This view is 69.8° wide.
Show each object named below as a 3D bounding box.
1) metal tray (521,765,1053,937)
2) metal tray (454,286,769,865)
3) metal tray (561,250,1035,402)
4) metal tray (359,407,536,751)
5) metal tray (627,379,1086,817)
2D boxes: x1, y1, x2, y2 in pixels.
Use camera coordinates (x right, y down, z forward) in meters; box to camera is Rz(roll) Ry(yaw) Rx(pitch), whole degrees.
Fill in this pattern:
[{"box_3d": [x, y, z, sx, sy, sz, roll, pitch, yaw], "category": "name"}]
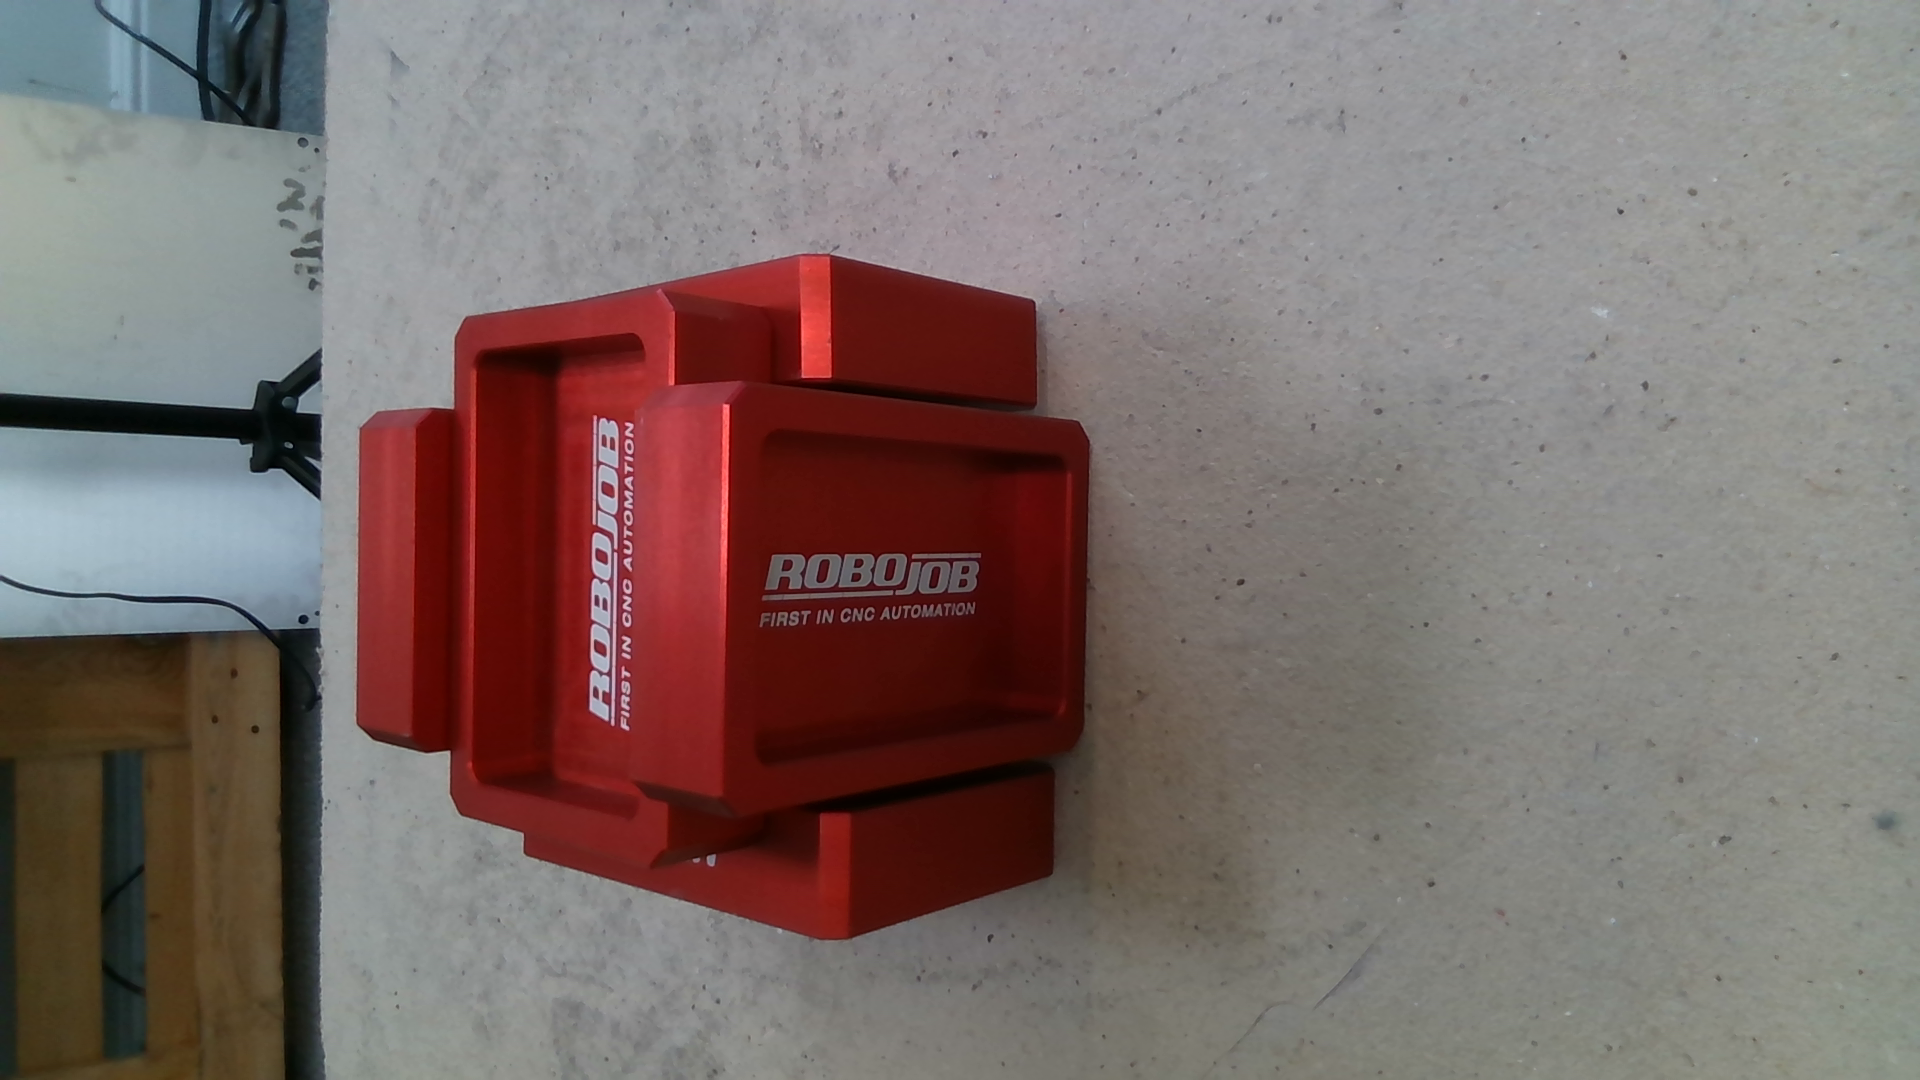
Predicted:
[{"box_3d": [-0.050, 0.076, 0.391, 0.130, 0.090, 0.030, 2, 91, 39], "category": "metal tray"}, {"box_3d": [-0.090, 0.007, 0.345, 0.090, 0.030, 0.130, 2, 92, 41], "category": "metal tray"}, {"box_3d": [-0.055, -0.052, 0.393, 0.130, 0.090, 0.030, -1, 90, 40], "category": "metal tray"}, {"box_3d": [-0.110, 0.010, 0.415, 0.030, 0.130, 0.090, 2, 92, 41], "category": "metal tray"}, {"box_3d": [-0.019, 0.011, 0.337, 0.030, 0.130, 0.090, 2, 92, 40], "category": "metal tray"}]
